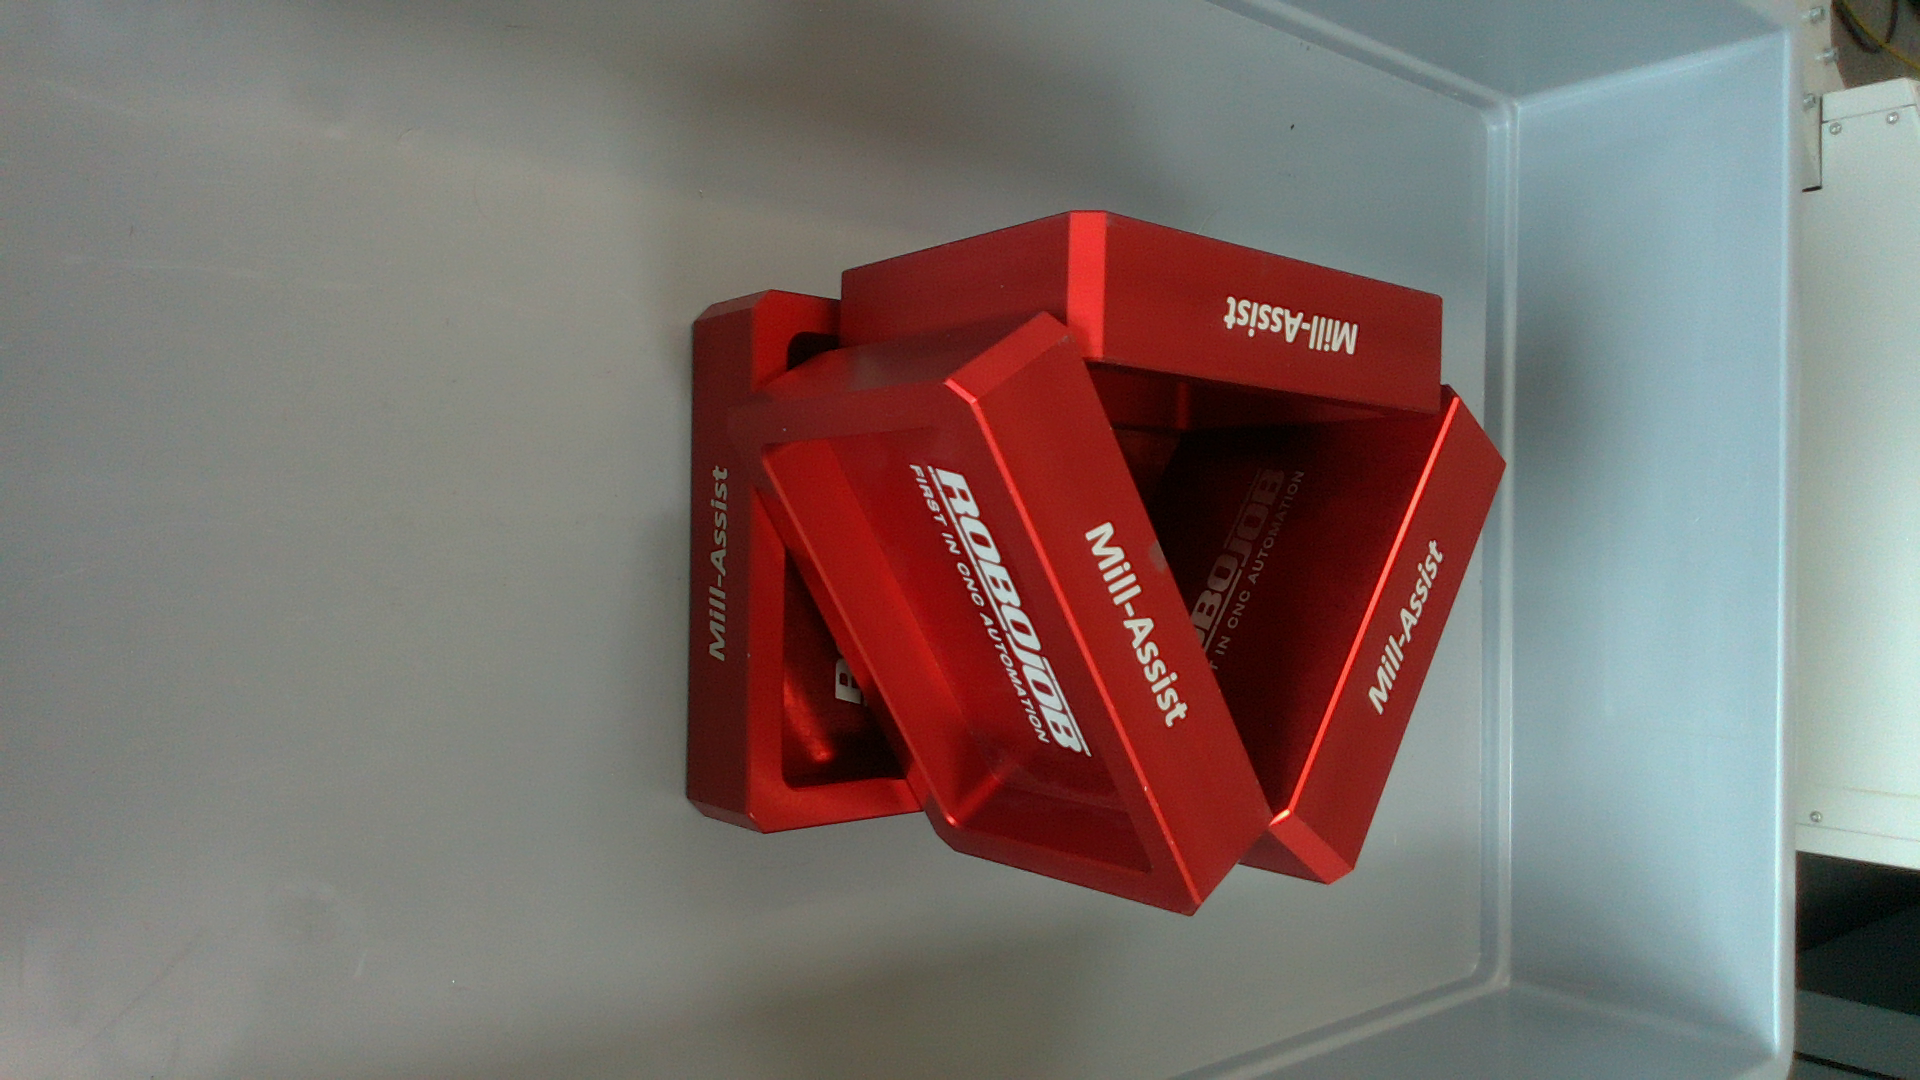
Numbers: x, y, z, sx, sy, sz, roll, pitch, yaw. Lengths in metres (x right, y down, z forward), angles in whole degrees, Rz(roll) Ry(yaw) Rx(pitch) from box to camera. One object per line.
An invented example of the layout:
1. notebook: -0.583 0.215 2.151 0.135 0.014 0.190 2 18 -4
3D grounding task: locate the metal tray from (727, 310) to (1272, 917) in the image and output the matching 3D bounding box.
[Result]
1. metal tray: 0.008 0.018 0.312 0.030 0.090 0.130 -38 113 -33

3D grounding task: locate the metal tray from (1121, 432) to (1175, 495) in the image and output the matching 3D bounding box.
1. metal tray: 0.045 0.008 0.422 0.090 0.030 0.130 2 88 -39

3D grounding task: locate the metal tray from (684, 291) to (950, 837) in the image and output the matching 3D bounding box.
1. metal tray: -0.026 0.006 0.364 0.090 0.030 0.130 1 89 -39

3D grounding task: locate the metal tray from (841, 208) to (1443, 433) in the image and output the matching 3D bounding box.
1. metal tray: 0.047 -0.049 0.344 0.131 0.090 0.030 2 89 -39

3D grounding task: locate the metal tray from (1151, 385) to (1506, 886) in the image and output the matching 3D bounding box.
1. metal tray: 0.082 0.021 0.373 0.030 0.090 0.130 43 65 -31
